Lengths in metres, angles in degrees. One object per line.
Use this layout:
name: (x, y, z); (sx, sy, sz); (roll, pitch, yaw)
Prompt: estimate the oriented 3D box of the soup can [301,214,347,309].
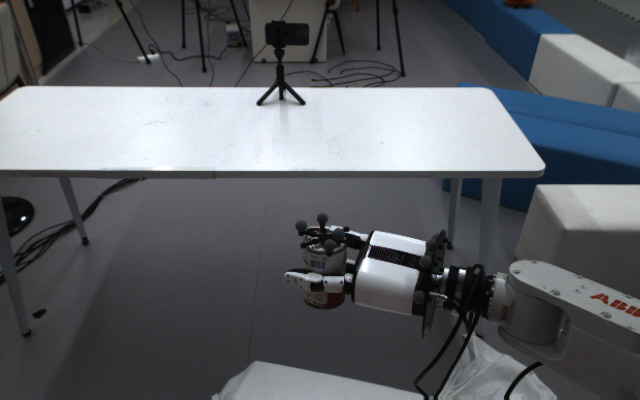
soup can: (0.009, 0.106, 0.734); (0.067, 0.101, 0.067); (1, 25, 0)
